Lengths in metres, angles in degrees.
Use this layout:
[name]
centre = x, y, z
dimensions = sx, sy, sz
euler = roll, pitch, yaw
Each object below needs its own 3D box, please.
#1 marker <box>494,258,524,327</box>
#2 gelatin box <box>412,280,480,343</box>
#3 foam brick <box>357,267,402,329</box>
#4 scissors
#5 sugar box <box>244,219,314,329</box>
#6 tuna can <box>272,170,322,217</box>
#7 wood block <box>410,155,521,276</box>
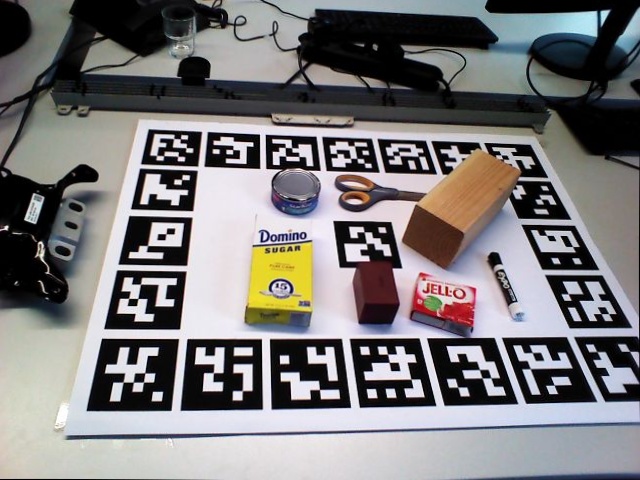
[marker]
centre = 0.294, 0.079, 0.809
dimensions = 0.019, 0.020, 0.120
euler = 2, 52, -5
[gelatin box]
centre = 0.188, 0.104, 0.770
dimensions = 0.089, 0.030, 0.073
euler = 16, 51, 7
[foam brick]
centre = 0.085, 0.085, 0.755
dimensions = 0.053, 0.051, 0.077
euler = 3, 51, -4
[scissors]
centre = 0.130, -0.074, 0.923
dimensions = 0.203, 0.016, 0.087
euler = 6, 50, 1
[sugar box]
centre = -0.059, 0.048, 0.780
dimensions = 0.093, 0.045, 0.175
euler = 5, 50, -4
[tuna can]
centre = -0.041, -0.080, 0.892
dimensions = 0.086, 0.034, 0.085
euler = 3, 50, -4
[wood block]
centre = 0.253, -0.045, 0.868
dimensions = 0.090, 0.091, 0.205
euler = 36, 54, 22
